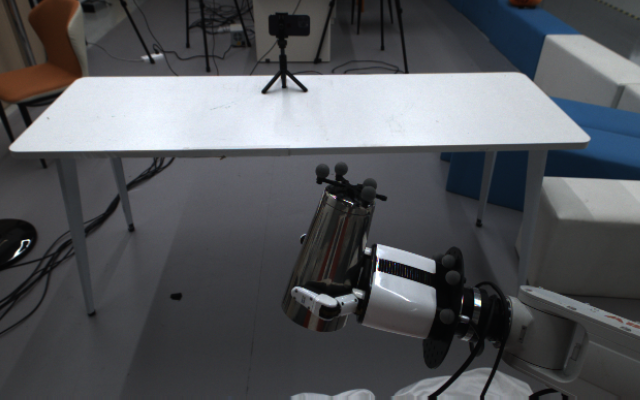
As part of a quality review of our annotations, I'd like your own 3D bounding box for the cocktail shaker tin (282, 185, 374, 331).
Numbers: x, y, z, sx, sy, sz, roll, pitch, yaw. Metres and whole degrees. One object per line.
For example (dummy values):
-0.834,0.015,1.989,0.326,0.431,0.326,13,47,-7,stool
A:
0.016,0.070,0.619,0.093,0.170,0.093,14,20,-5,cocktail shaker tin
